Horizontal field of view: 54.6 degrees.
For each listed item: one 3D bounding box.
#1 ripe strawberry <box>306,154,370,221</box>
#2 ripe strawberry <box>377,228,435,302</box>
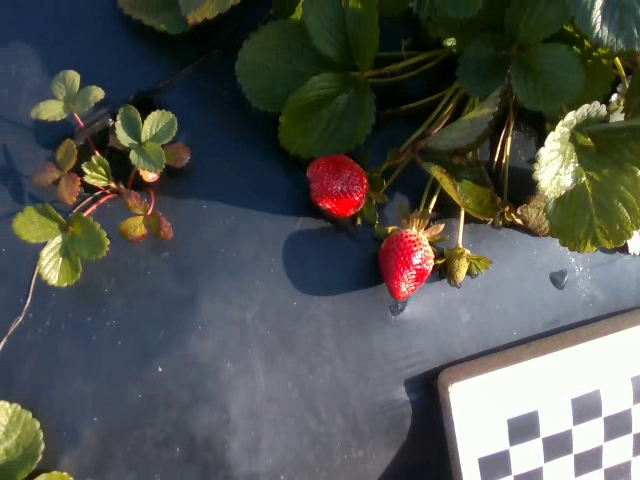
[{"bbox_3d":[0.012,-0.036,0.411,0.054,0.048,0.039,-4,16,-37],"label":"ripe strawberry"},{"bbox_3d":[0.056,0.017,0.398,0.043,0.053,0.039,30,-35,-19],"label":"ripe strawberry"}]
